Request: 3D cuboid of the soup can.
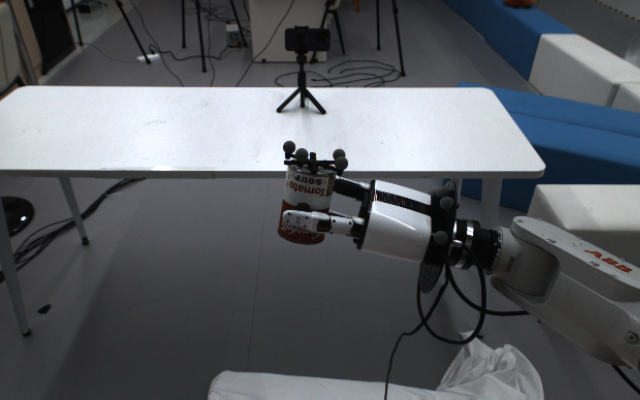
[{"bbox_3d":[-0.017,0.001,0.665,0.067,0.101,0.067,9,20,-3],"label":"soup can"}]
